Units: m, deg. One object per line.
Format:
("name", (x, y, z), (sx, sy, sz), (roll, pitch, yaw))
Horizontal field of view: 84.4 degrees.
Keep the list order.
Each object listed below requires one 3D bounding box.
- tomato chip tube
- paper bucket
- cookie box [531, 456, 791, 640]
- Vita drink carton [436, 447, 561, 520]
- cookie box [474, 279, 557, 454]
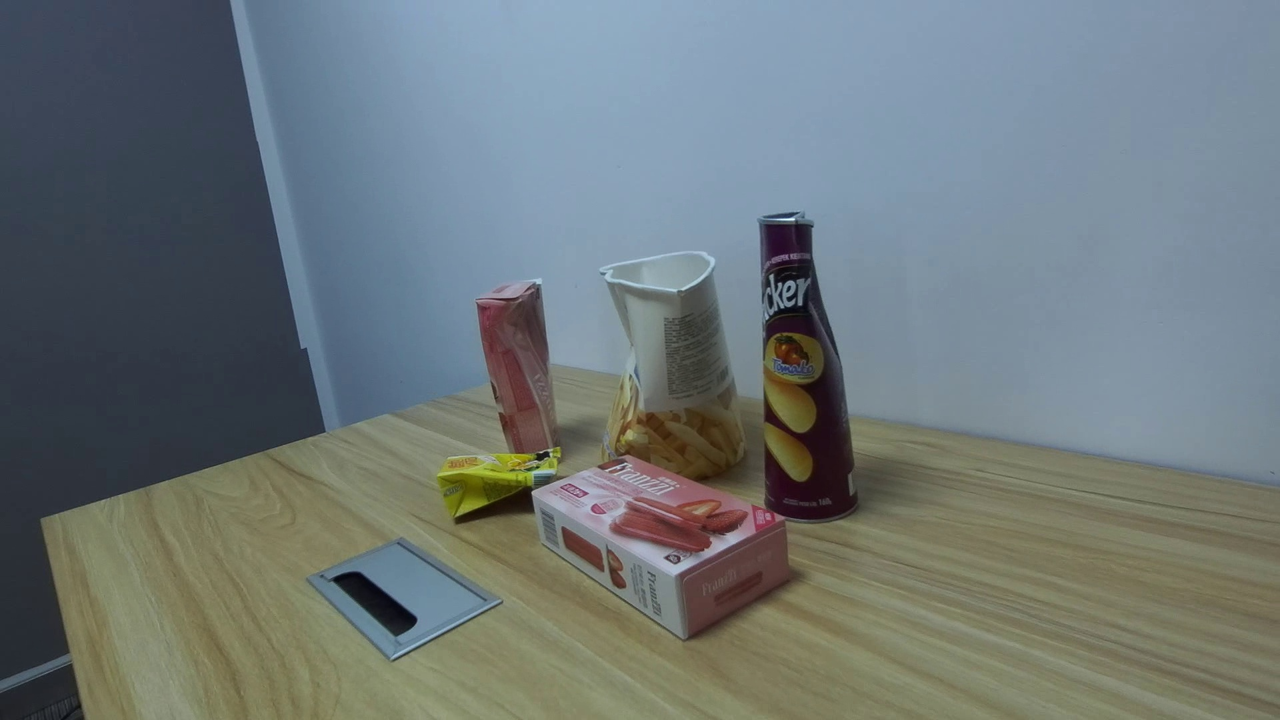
("tomato chip tube", (0.129, 0.005, 0.552), (0.078, 0.235, 0.076), (-14, 15, -30))
("paper bucket", (0.025, 0.003, 0.687), (0.148, 0.199, 0.217), (-16, 15, -35))
("cookie box", (0.008, 0.125, 0.516), (0.096, 0.048, 0.183), (-17, 17, -33))
("Vita drink carton", (-0.125, 0.113, 0.654), (0.108, 0.042, 0.087), (-5, 7, -6))
("cookie box", (-0.122, 0.014, 0.746), (0.055, 0.184, 0.118), (-6, 14, 2))
